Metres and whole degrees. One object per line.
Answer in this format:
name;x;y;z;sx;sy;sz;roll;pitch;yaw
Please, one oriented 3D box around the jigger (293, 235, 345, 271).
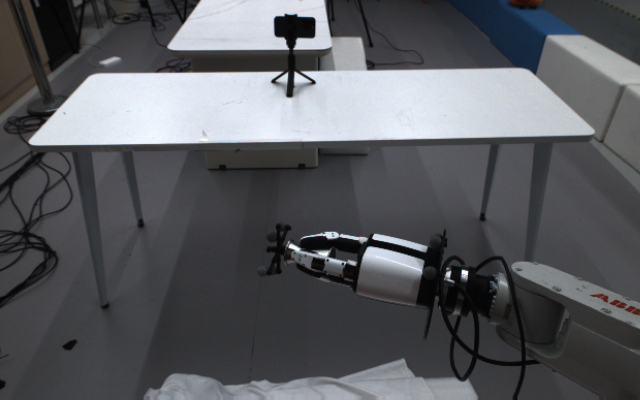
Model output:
jigger;-0.009;0.081;0.722;0.071;0.043;0.043;10;35;16
